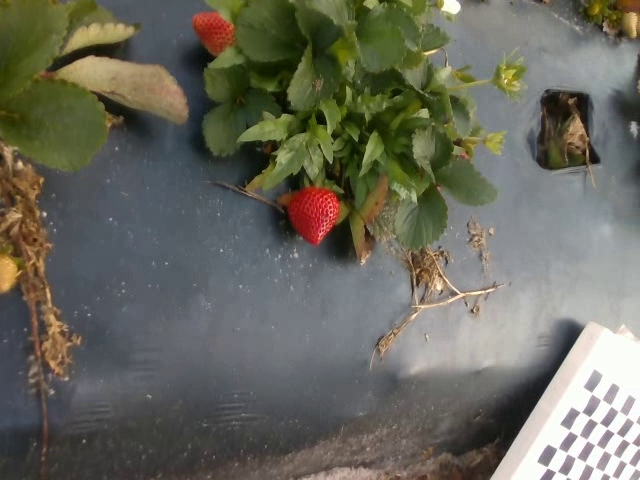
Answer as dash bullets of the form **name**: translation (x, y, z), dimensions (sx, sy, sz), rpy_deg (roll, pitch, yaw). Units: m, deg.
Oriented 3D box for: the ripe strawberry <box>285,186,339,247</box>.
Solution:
- **ripe strawberry**: translation (-0.007, -0.017, 0.457), dimensions (0.043, 0.051, 0.042), rpy_deg (13, -19, -33)
